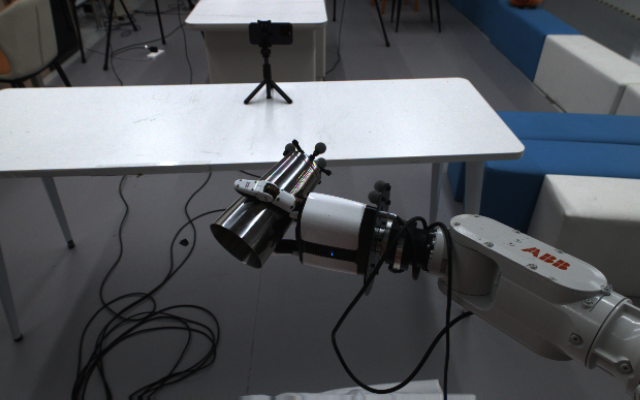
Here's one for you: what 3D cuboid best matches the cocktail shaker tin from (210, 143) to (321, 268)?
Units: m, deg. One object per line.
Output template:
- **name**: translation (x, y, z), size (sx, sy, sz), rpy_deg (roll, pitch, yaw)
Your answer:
- **cocktail shaker tin**: translation (-0.073, 0.003, 0.714), size (0.093, 0.093, 0.170), rpy_deg (23, 57, 27)
